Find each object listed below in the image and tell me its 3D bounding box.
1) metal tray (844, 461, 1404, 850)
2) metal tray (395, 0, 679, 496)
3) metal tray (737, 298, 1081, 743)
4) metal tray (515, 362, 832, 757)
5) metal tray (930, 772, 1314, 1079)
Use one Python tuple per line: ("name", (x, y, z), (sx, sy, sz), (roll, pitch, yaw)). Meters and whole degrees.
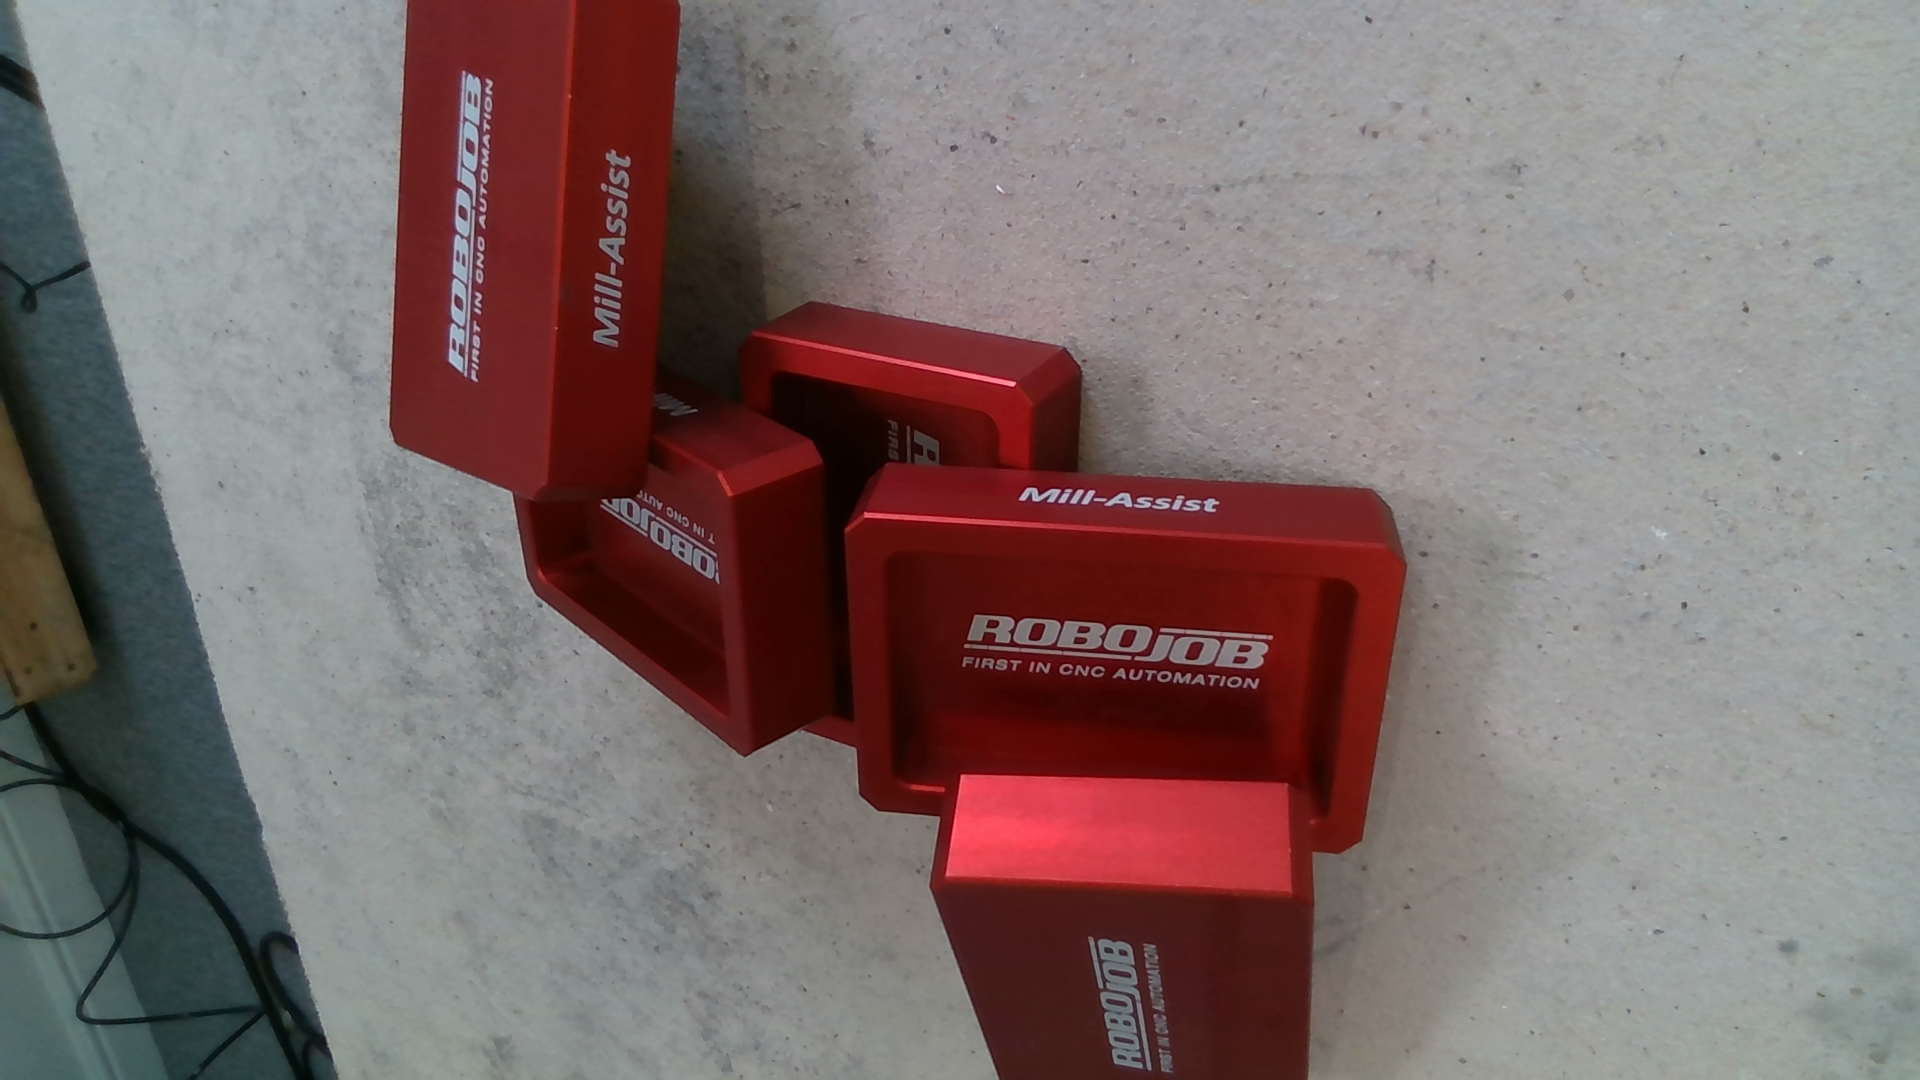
("metal tray", (0.039, 0.030, 0.352), (0.130, 0.030, 0.090), (4, 119, 8))
("metal tray", (-0.118, -0.084, 0.374), (0.090, 0.030, 0.130), (17, 106, 42))
("metal tray", (-0.014, 0.003, 0.397), (0.090, 0.030, 0.130), (14, 122, 25))
("metal tray", (-0.091, -0.004, 0.413), (0.130, 0.030, 0.090), (28, 129, 40))
("metal tray", (0.049, 0.112, 0.376), (0.090, 0.030, 0.130), (-1, 138, 12))
